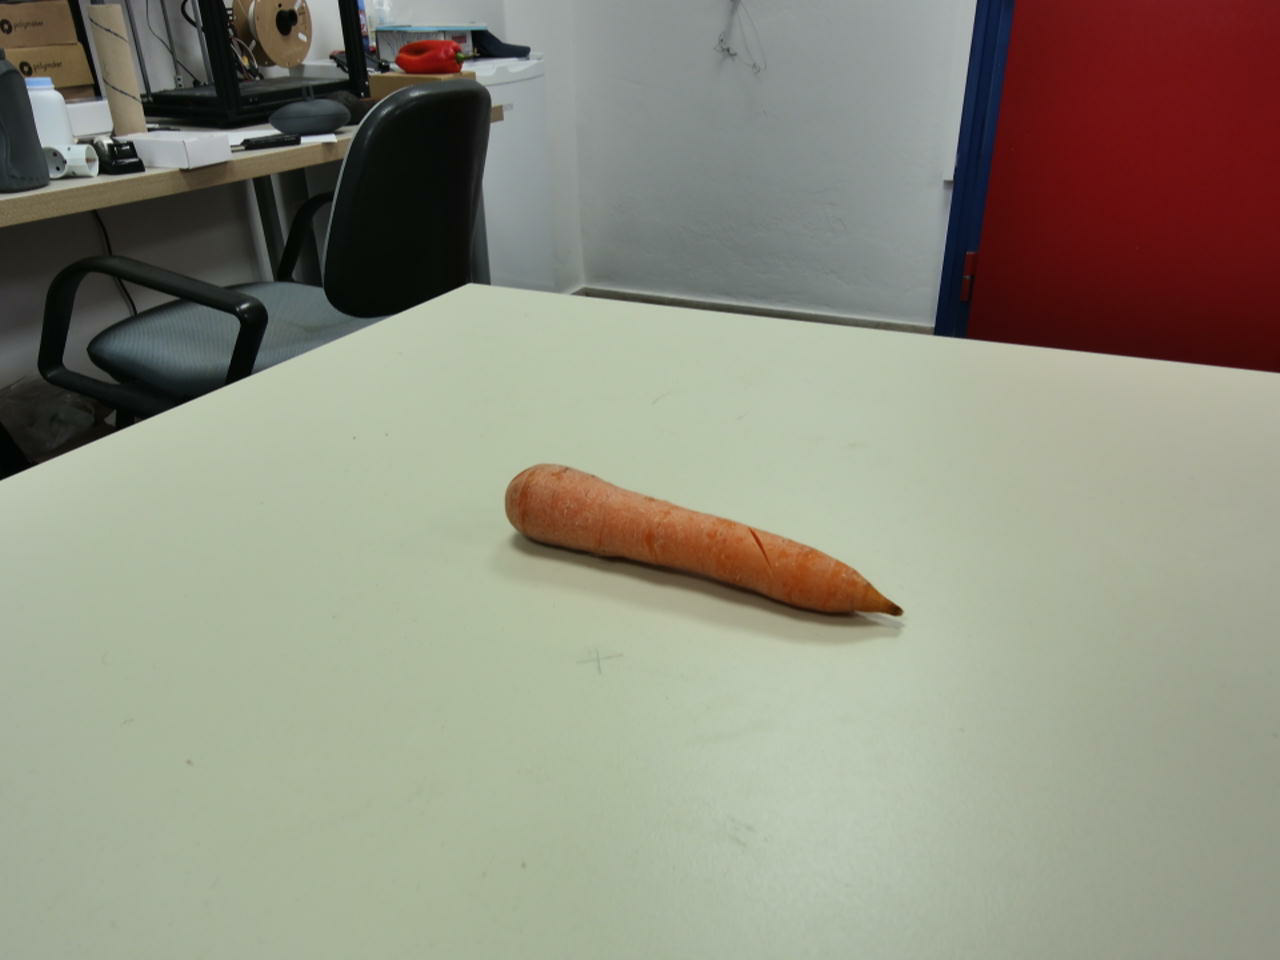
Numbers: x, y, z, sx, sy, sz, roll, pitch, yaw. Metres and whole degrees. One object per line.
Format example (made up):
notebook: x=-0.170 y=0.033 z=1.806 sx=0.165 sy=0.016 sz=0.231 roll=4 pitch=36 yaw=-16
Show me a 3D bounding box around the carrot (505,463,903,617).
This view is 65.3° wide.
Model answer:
carrot: x=0.024 y=0.026 z=0.462 sx=0.196 sy=0.041 sz=0.039 roll=11 pitch=26 yaw=23
